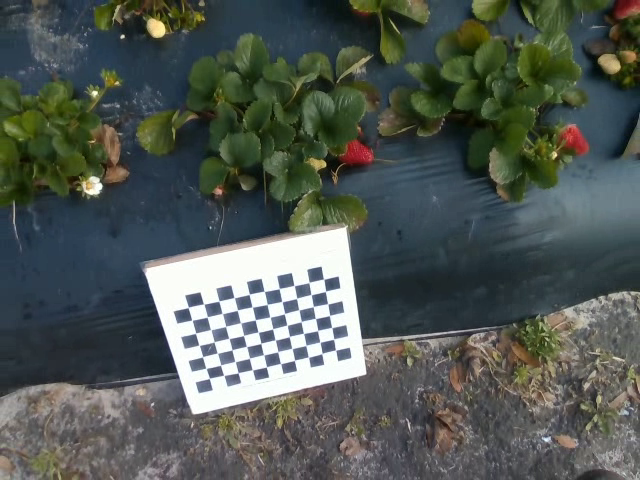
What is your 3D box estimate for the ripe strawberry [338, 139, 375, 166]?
[{"bbox_3d":[0.050,-0.119,0.865,0.064,0.050,0.043,18,21,-17],"label":"ripe strawberry"}]
